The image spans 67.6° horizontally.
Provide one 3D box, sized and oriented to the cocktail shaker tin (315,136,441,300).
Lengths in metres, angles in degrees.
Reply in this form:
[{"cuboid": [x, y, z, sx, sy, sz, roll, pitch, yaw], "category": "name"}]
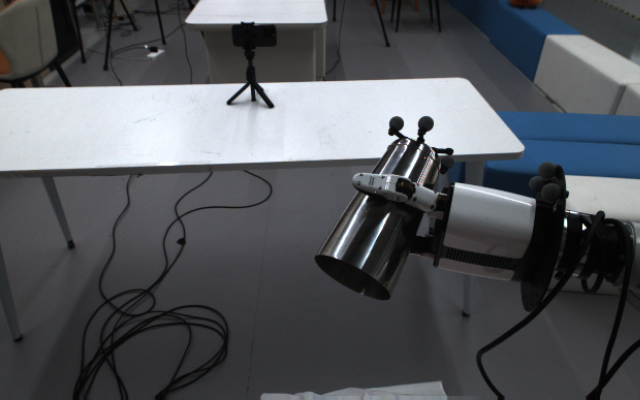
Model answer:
[{"cuboid": [0.077, 0.012, 0.545, 0.093, 0.093, 0.170, 19, 66, 23], "category": "cocktail shaker tin"}]
